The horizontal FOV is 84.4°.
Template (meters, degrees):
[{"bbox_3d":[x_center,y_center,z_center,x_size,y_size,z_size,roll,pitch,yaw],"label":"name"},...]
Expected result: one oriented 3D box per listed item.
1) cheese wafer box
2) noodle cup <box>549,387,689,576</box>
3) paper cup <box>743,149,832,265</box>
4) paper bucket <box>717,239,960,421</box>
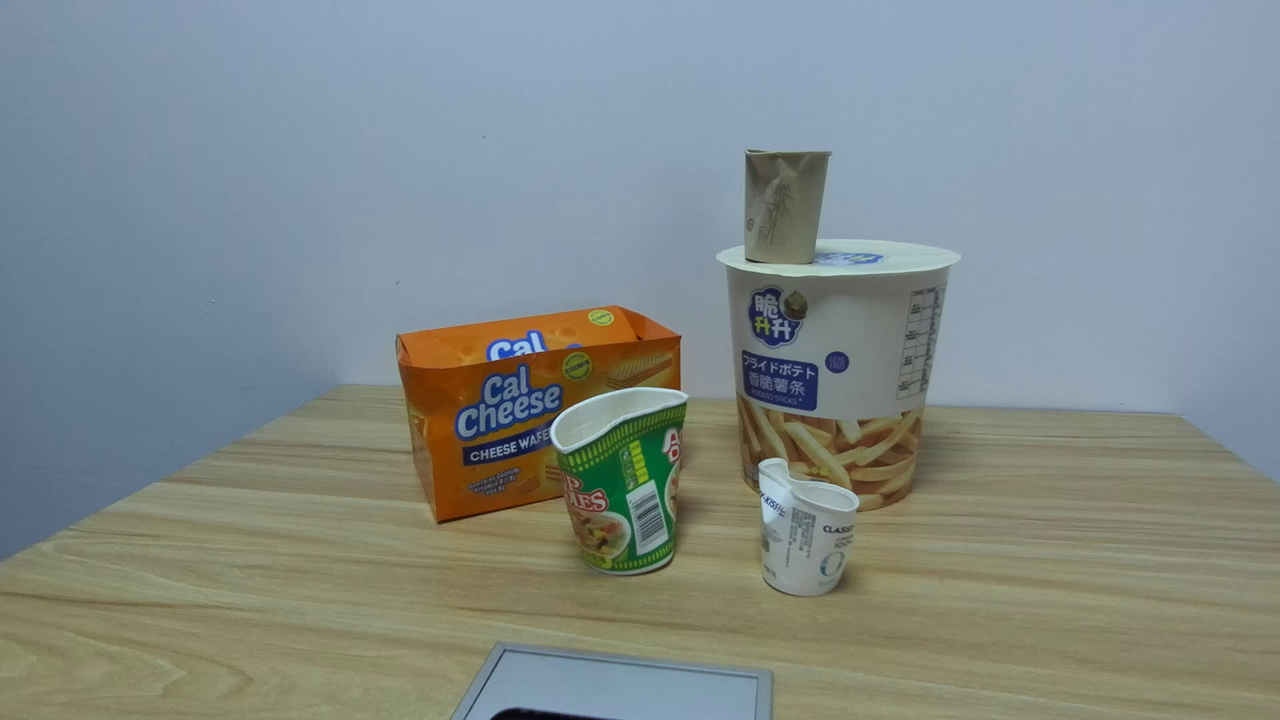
[{"bbox_3d":[-0.092,0.040,0.638,0.231,0.132,0.151,-8,19,-23],"label":"cheese wafer box"},{"bbox_3d":[-0.009,0.084,0.493,0.115,0.111,0.070,-10,20,-25],"label":"noodle cup"},{"bbox_3d":[0.114,-0.118,0.544,0.072,0.084,0.066,-3,15,-20],"label":"paper cup"},{"bbox_3d":[0.158,0.007,0.594,0.198,0.194,0.198,-2,17,1],"label":"paper bucket"}]
